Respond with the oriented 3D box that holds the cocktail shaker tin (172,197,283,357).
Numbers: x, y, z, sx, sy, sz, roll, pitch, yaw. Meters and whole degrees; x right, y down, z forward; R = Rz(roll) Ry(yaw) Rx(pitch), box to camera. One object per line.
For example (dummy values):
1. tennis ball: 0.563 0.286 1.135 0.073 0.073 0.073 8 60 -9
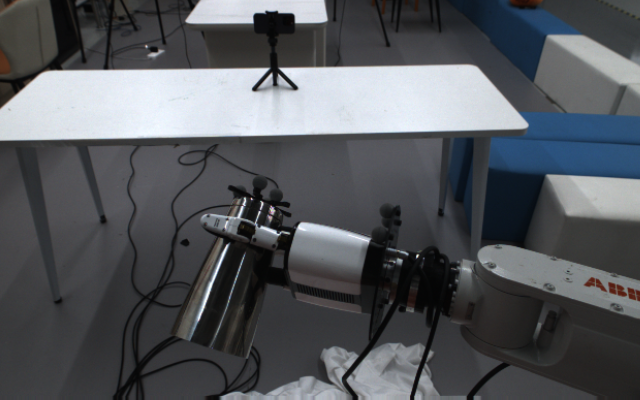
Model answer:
1. cocktail shaker tin: -0.100 0.088 0.568 0.093 0.093 0.170 13 71 15
